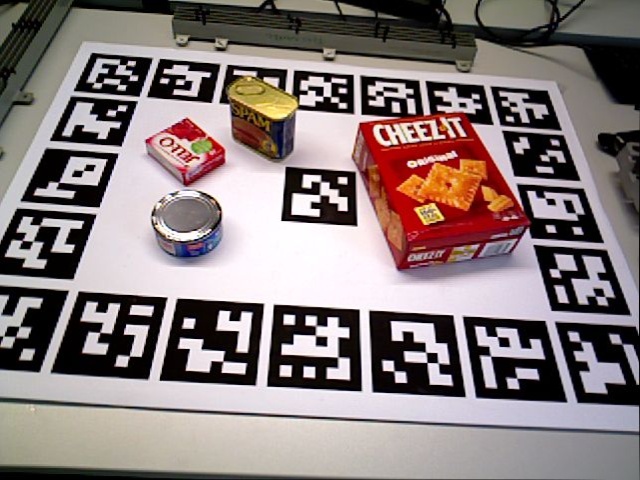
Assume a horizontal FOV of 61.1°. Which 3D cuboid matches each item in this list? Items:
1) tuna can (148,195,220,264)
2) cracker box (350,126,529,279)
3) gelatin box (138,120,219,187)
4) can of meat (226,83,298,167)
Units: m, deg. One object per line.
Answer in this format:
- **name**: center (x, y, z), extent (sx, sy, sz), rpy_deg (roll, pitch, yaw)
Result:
- **tuna can**: center (-0.167, -0.013, 0.676), extent (0.085, 0.034, 0.084), rpy_deg (2, 55, -4)
- **cracker box**: center (0.153, -0.060, 0.735), extent (0.162, 0.074, 0.211), rpy_deg (-8, 52, -15)
- **gelatin box**: center (-0.199, -0.124, 0.764), extent (0.089, 0.031, 0.071), rpy_deg (40, 55, 19)
- **can of meat**: center (-0.085, -0.163, 0.783), extent (0.102, 0.085, 0.056), rpy_deg (28, 53, 16)
